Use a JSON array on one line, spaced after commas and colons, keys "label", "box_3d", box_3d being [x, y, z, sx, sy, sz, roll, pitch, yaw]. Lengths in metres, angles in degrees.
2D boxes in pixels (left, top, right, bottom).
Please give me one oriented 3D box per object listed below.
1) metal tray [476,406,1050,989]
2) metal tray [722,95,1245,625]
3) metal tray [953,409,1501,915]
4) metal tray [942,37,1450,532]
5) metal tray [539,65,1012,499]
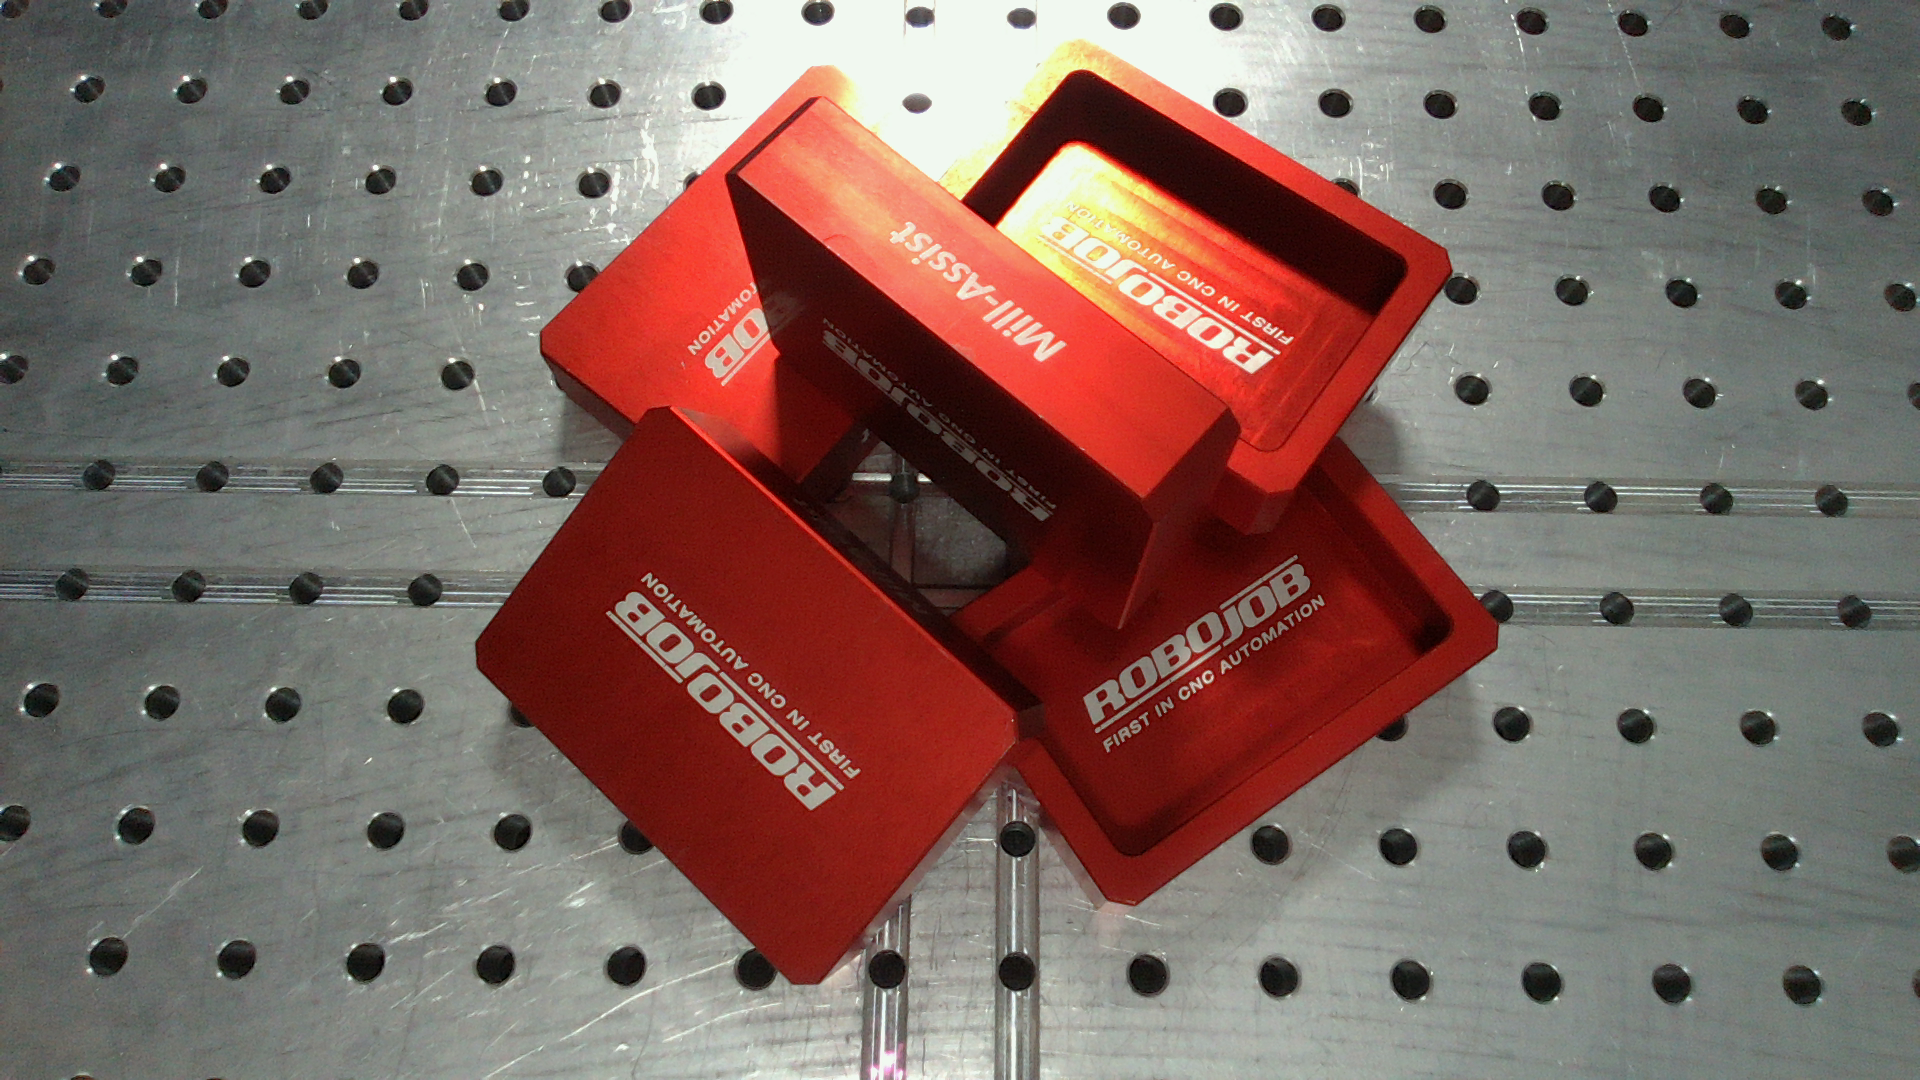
[{"label": "metal tray", "box_3d": [-0.053, 0.039, 0.360, 0.130, 0.030, 0.090, 41, 100, 13]}, {"label": "metal tray", "box_3d": [0.003, -0.041, 0.345, 0.130, 0.090, 0.030, 39, 75, 13]}, {"label": "metal tray", "box_3d": [0.069, 0.031, 0.382, 0.130, 0.030, 0.090, -32, 73, -11]}, {"label": "metal tray", "box_3d": [0.058, -0.074, 0.389, 0.130, 0.030, 0.090, 35, 74, 12]}, {"label": "metal tray", "box_3d": [-0.050, -0.074, 0.420, 0.090, 0.030, 0.130, 37, 74, 12]}]
